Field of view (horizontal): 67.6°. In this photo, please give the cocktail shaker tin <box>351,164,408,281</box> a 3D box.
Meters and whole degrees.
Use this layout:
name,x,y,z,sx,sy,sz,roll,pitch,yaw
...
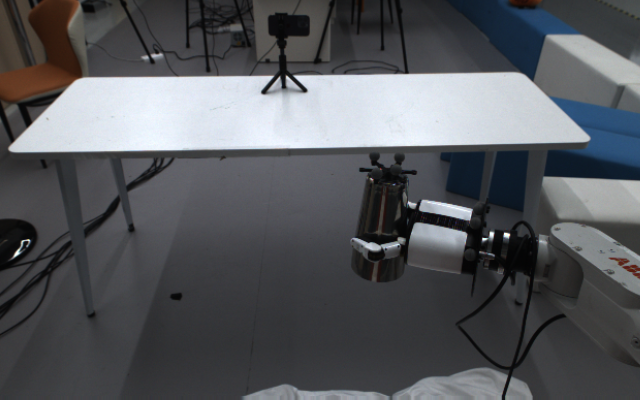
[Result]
name,x,y,z,sx,sy,sz,roll,pitch,yaw
cocktail shaker tin,0.103,0.036,0.789,0.093,0.170,0.093,2,28,-1
